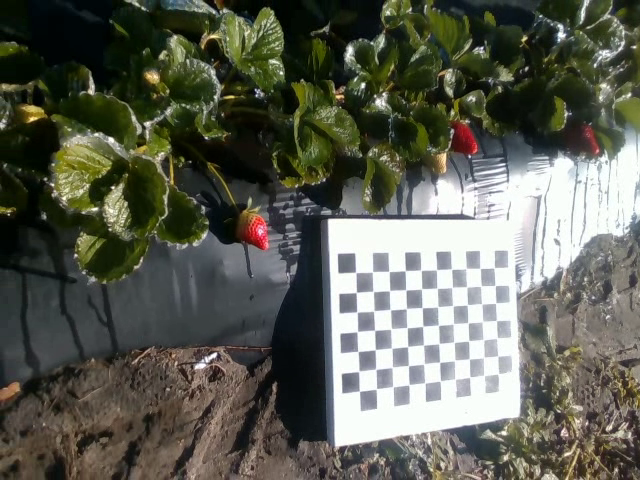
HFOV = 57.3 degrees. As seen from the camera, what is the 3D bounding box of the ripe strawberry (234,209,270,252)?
[{"bbox_3d":[-0.073,-0.009,0.643,0.039,0.053,0.041,-25,-9,-24],"label":"ripe strawberry"}]
